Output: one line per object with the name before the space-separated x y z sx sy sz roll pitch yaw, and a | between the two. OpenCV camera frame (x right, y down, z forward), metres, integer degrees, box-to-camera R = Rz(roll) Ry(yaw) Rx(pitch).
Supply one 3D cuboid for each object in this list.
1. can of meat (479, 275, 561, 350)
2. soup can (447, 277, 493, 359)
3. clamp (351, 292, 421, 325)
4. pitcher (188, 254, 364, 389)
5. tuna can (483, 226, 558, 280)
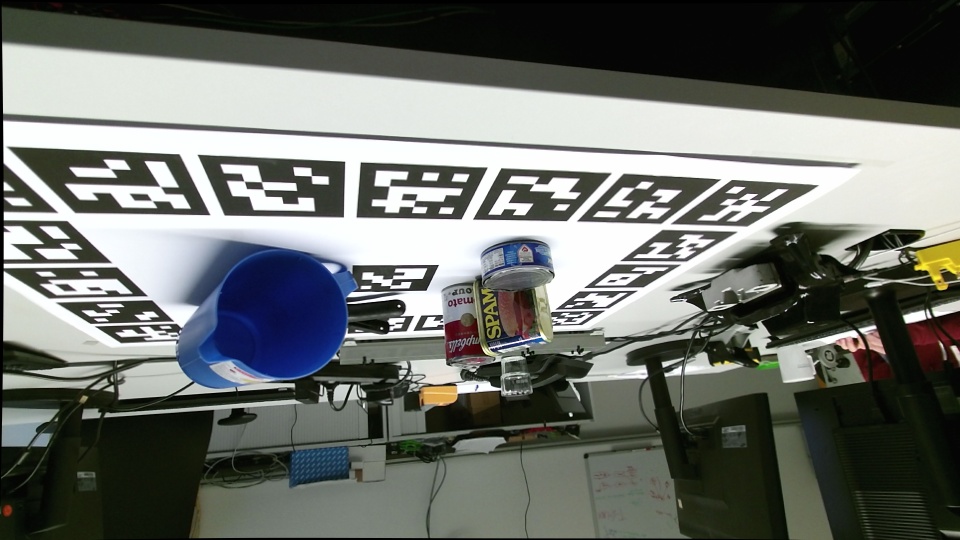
can of meat | 0.053 0.045 0.702 0.084 0.101 0.058 -19 155 19
soup can | -0.007 0.068 0.755 0.068 0.101 0.068 -9 157 -4
clamp | -0.176 0.057 0.787 0.166 0.036 0.122 2 161 -14
pitcher | -0.257 0.073 0.639 0.189 0.133 0.243 -18 177 -39
tuna can | 0.047 -0.020 0.638 0.086 0.033 0.086 -6 157 -3
